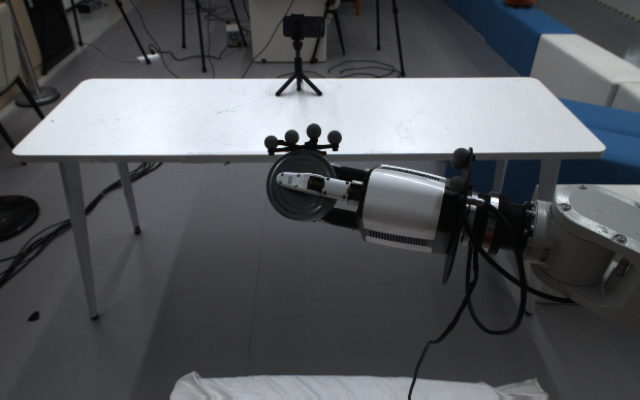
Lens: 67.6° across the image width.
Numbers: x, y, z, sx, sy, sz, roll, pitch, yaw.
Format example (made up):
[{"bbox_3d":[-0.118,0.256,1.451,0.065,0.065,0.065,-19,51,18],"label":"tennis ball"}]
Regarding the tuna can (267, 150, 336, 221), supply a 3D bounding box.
[{"bbox_3d":[-0.017,-0.012,0.587,0.085,0.085,0.034,10,-6,11],"label":"tuna can"}]
